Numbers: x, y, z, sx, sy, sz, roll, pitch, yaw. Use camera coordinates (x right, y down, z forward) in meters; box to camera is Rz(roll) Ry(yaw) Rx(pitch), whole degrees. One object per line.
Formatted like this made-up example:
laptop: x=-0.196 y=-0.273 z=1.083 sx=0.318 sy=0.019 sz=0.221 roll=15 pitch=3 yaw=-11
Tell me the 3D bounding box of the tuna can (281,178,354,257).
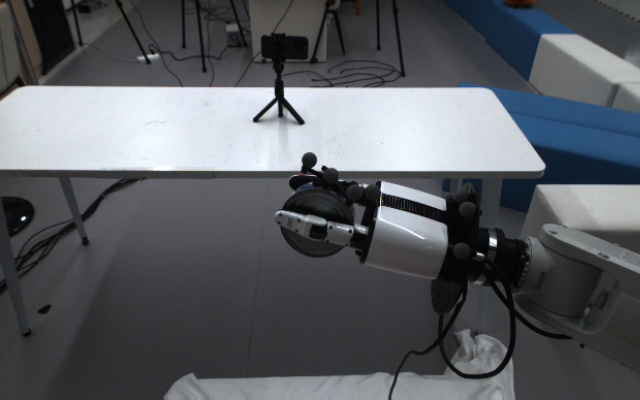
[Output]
tuna can: x=0.001 y=0.021 z=0.568 sx=0.085 sy=0.085 sz=0.034 roll=7 pitch=16 yaw=7
